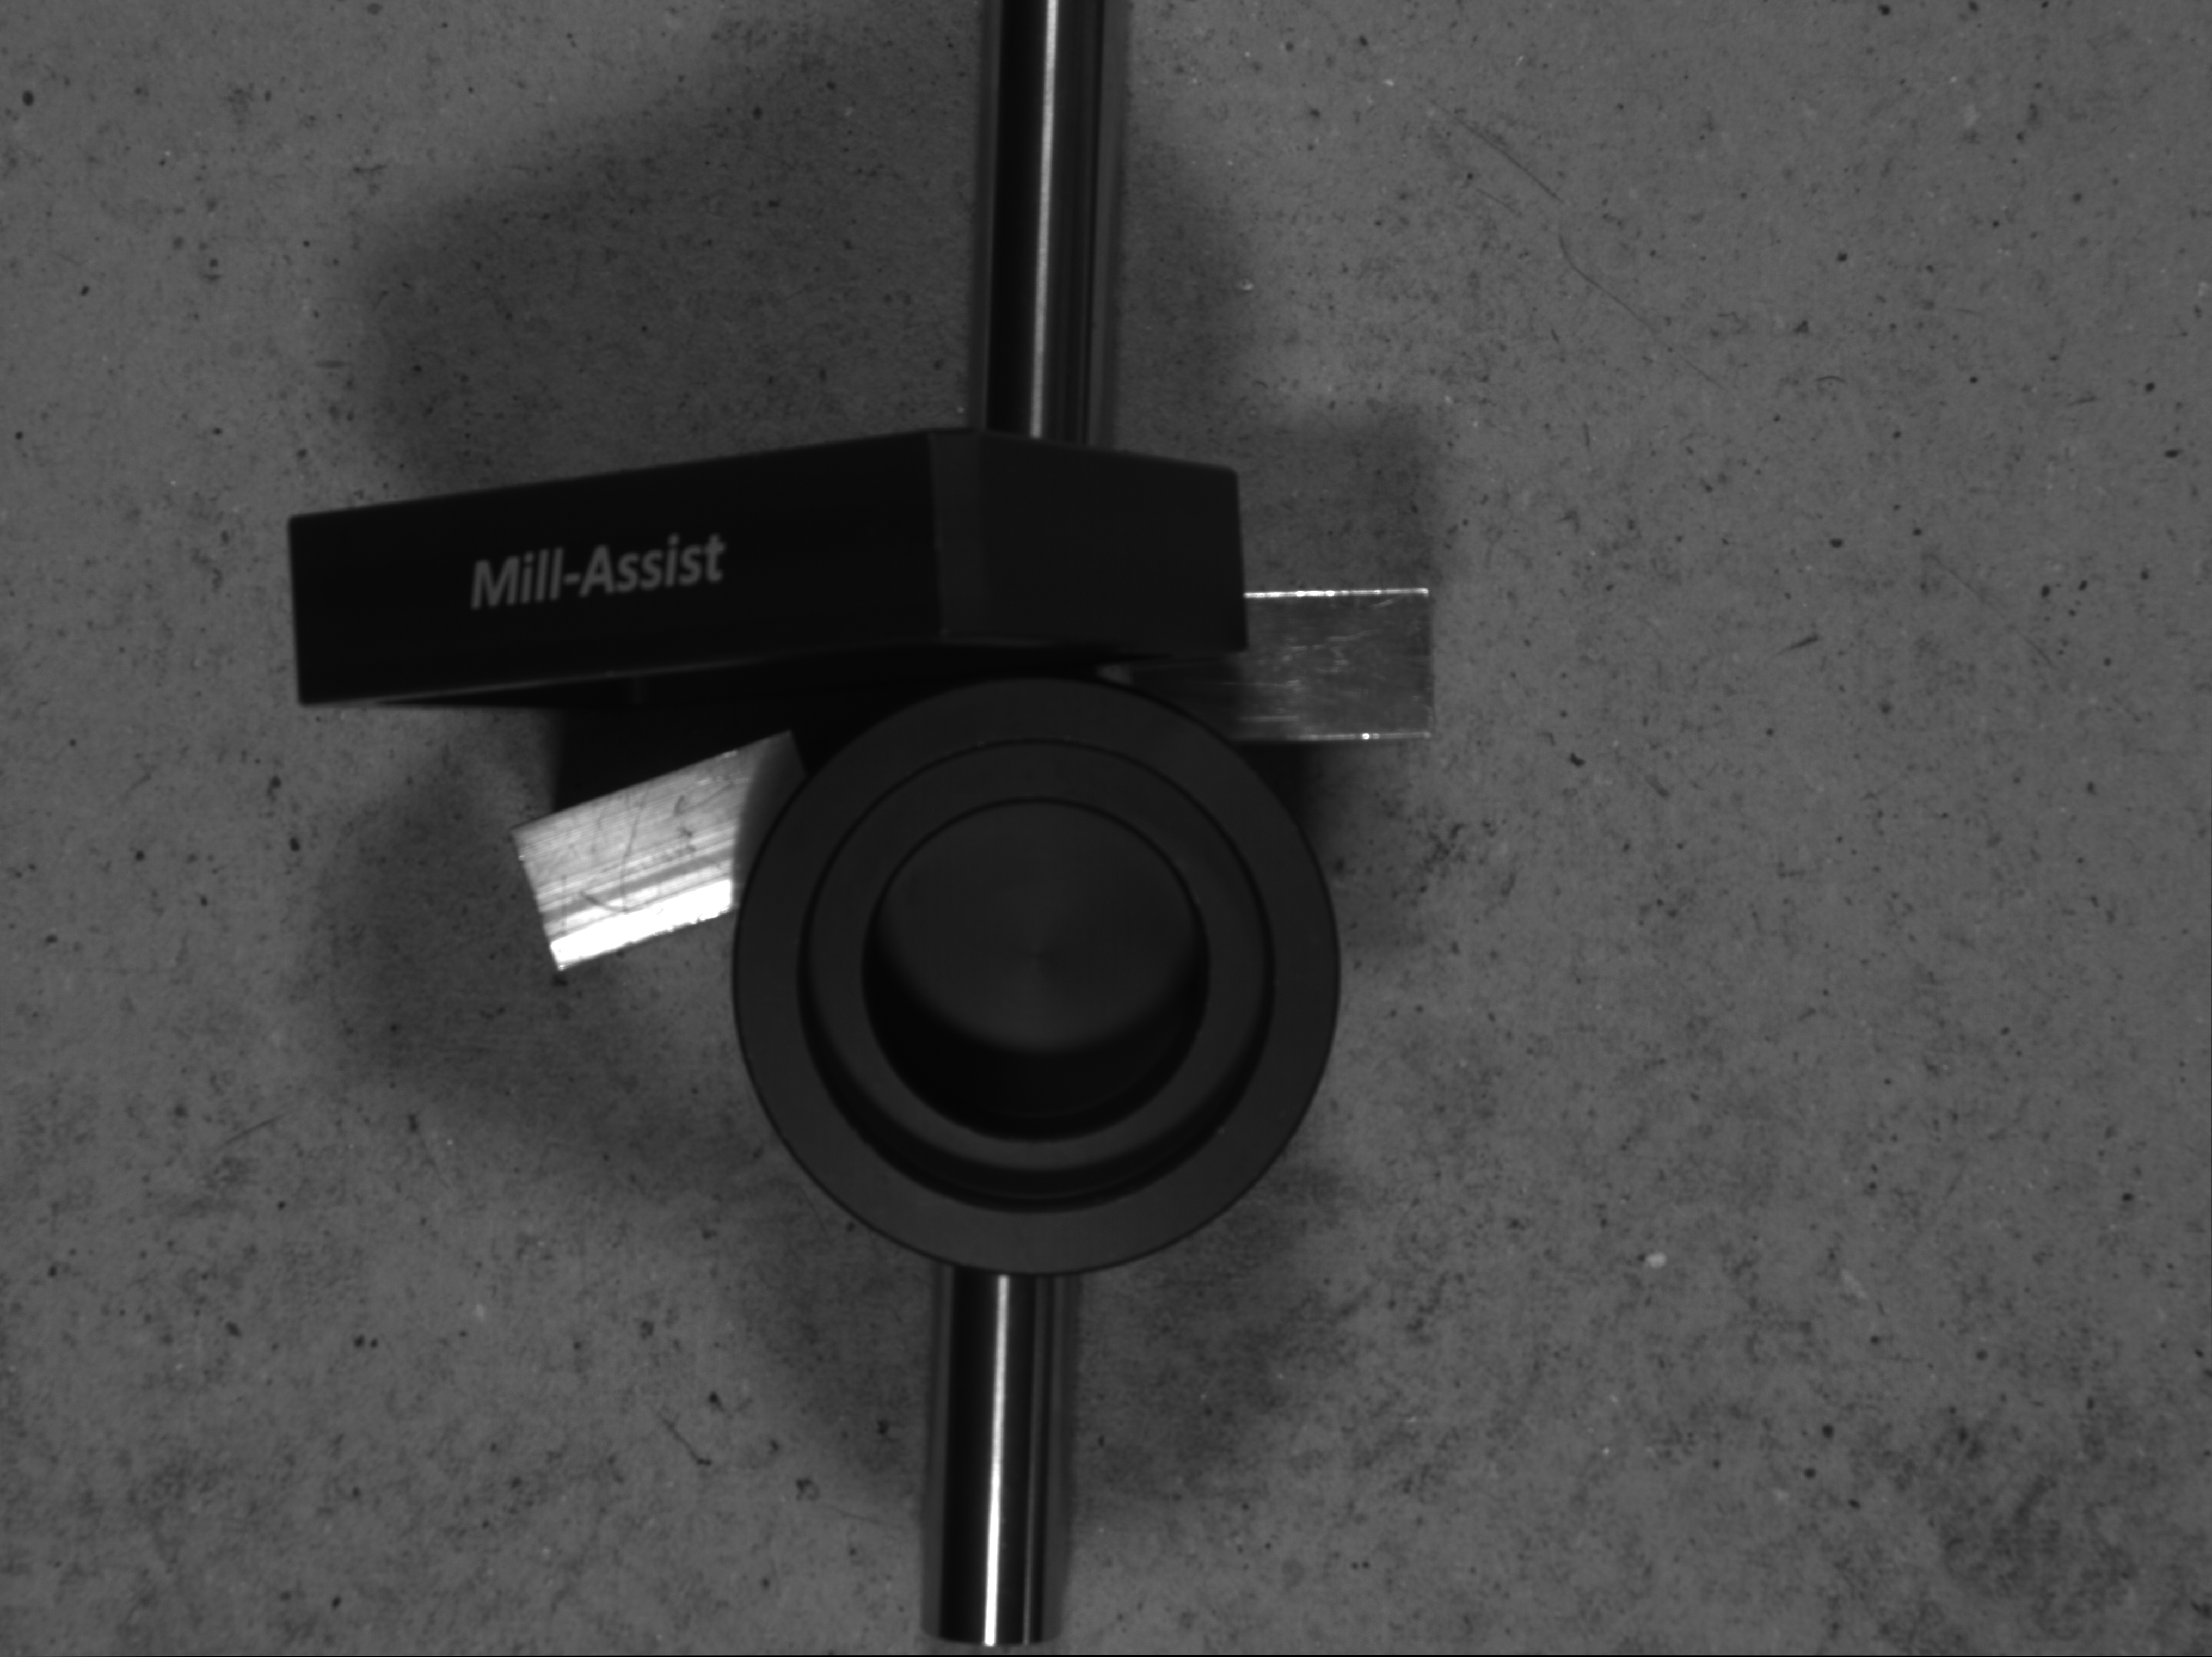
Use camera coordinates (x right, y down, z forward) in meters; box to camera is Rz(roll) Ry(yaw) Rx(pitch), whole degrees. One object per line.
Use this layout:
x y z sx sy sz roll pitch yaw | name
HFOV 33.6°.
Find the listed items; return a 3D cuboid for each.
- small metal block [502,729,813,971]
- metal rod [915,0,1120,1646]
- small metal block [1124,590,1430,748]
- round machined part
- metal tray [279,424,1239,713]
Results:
-0.072 0.004 0.632 0.050 0.050 0.025 -19 90 0 | small metal block
-0.015 -0.009 0.645 0.025 0.025 0.300 2 90 0 | metal rod
0.028 -0.026 0.633 0.050 0.050 0.025 -2 90 0 | small metal block
-0.013 0.023 0.609 0.098 0.042 0.098 0 93 -2 | round machined part
-0.056 -0.039 0.589 0.130 0.090 0.030 -4 88 29 | metal tray
